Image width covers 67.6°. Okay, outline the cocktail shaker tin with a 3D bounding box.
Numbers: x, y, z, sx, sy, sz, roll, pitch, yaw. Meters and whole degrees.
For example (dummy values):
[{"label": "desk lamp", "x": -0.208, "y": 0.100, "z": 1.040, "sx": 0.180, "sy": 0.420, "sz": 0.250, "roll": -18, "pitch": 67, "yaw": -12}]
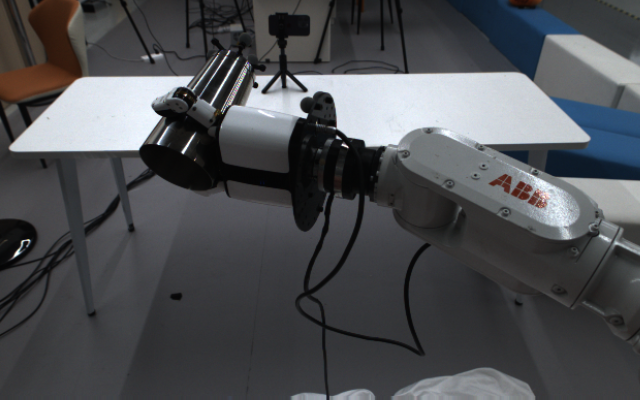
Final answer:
[{"label": "cocktail shaker tin", "x": -0.144, "y": -0.106, "z": 0.607, "sx": 0.093, "sy": 0.093, "sz": 0.170, "roll": 13, "pitch": 61, "yaw": 15}]
